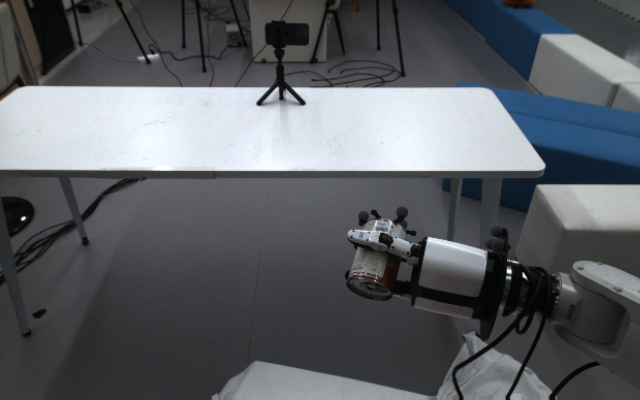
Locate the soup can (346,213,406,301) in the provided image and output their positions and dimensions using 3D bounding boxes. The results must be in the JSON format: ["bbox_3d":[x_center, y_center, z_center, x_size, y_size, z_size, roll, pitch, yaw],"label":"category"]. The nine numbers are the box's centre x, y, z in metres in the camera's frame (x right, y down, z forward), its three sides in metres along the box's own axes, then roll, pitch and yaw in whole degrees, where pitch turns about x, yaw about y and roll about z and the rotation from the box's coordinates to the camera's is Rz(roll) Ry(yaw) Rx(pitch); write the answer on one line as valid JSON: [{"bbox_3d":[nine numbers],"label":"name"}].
[{"bbox_3d":[0.084,0.084,0.705,0.067,0.067,0.101,12,59,14],"label":"soup can"}]
